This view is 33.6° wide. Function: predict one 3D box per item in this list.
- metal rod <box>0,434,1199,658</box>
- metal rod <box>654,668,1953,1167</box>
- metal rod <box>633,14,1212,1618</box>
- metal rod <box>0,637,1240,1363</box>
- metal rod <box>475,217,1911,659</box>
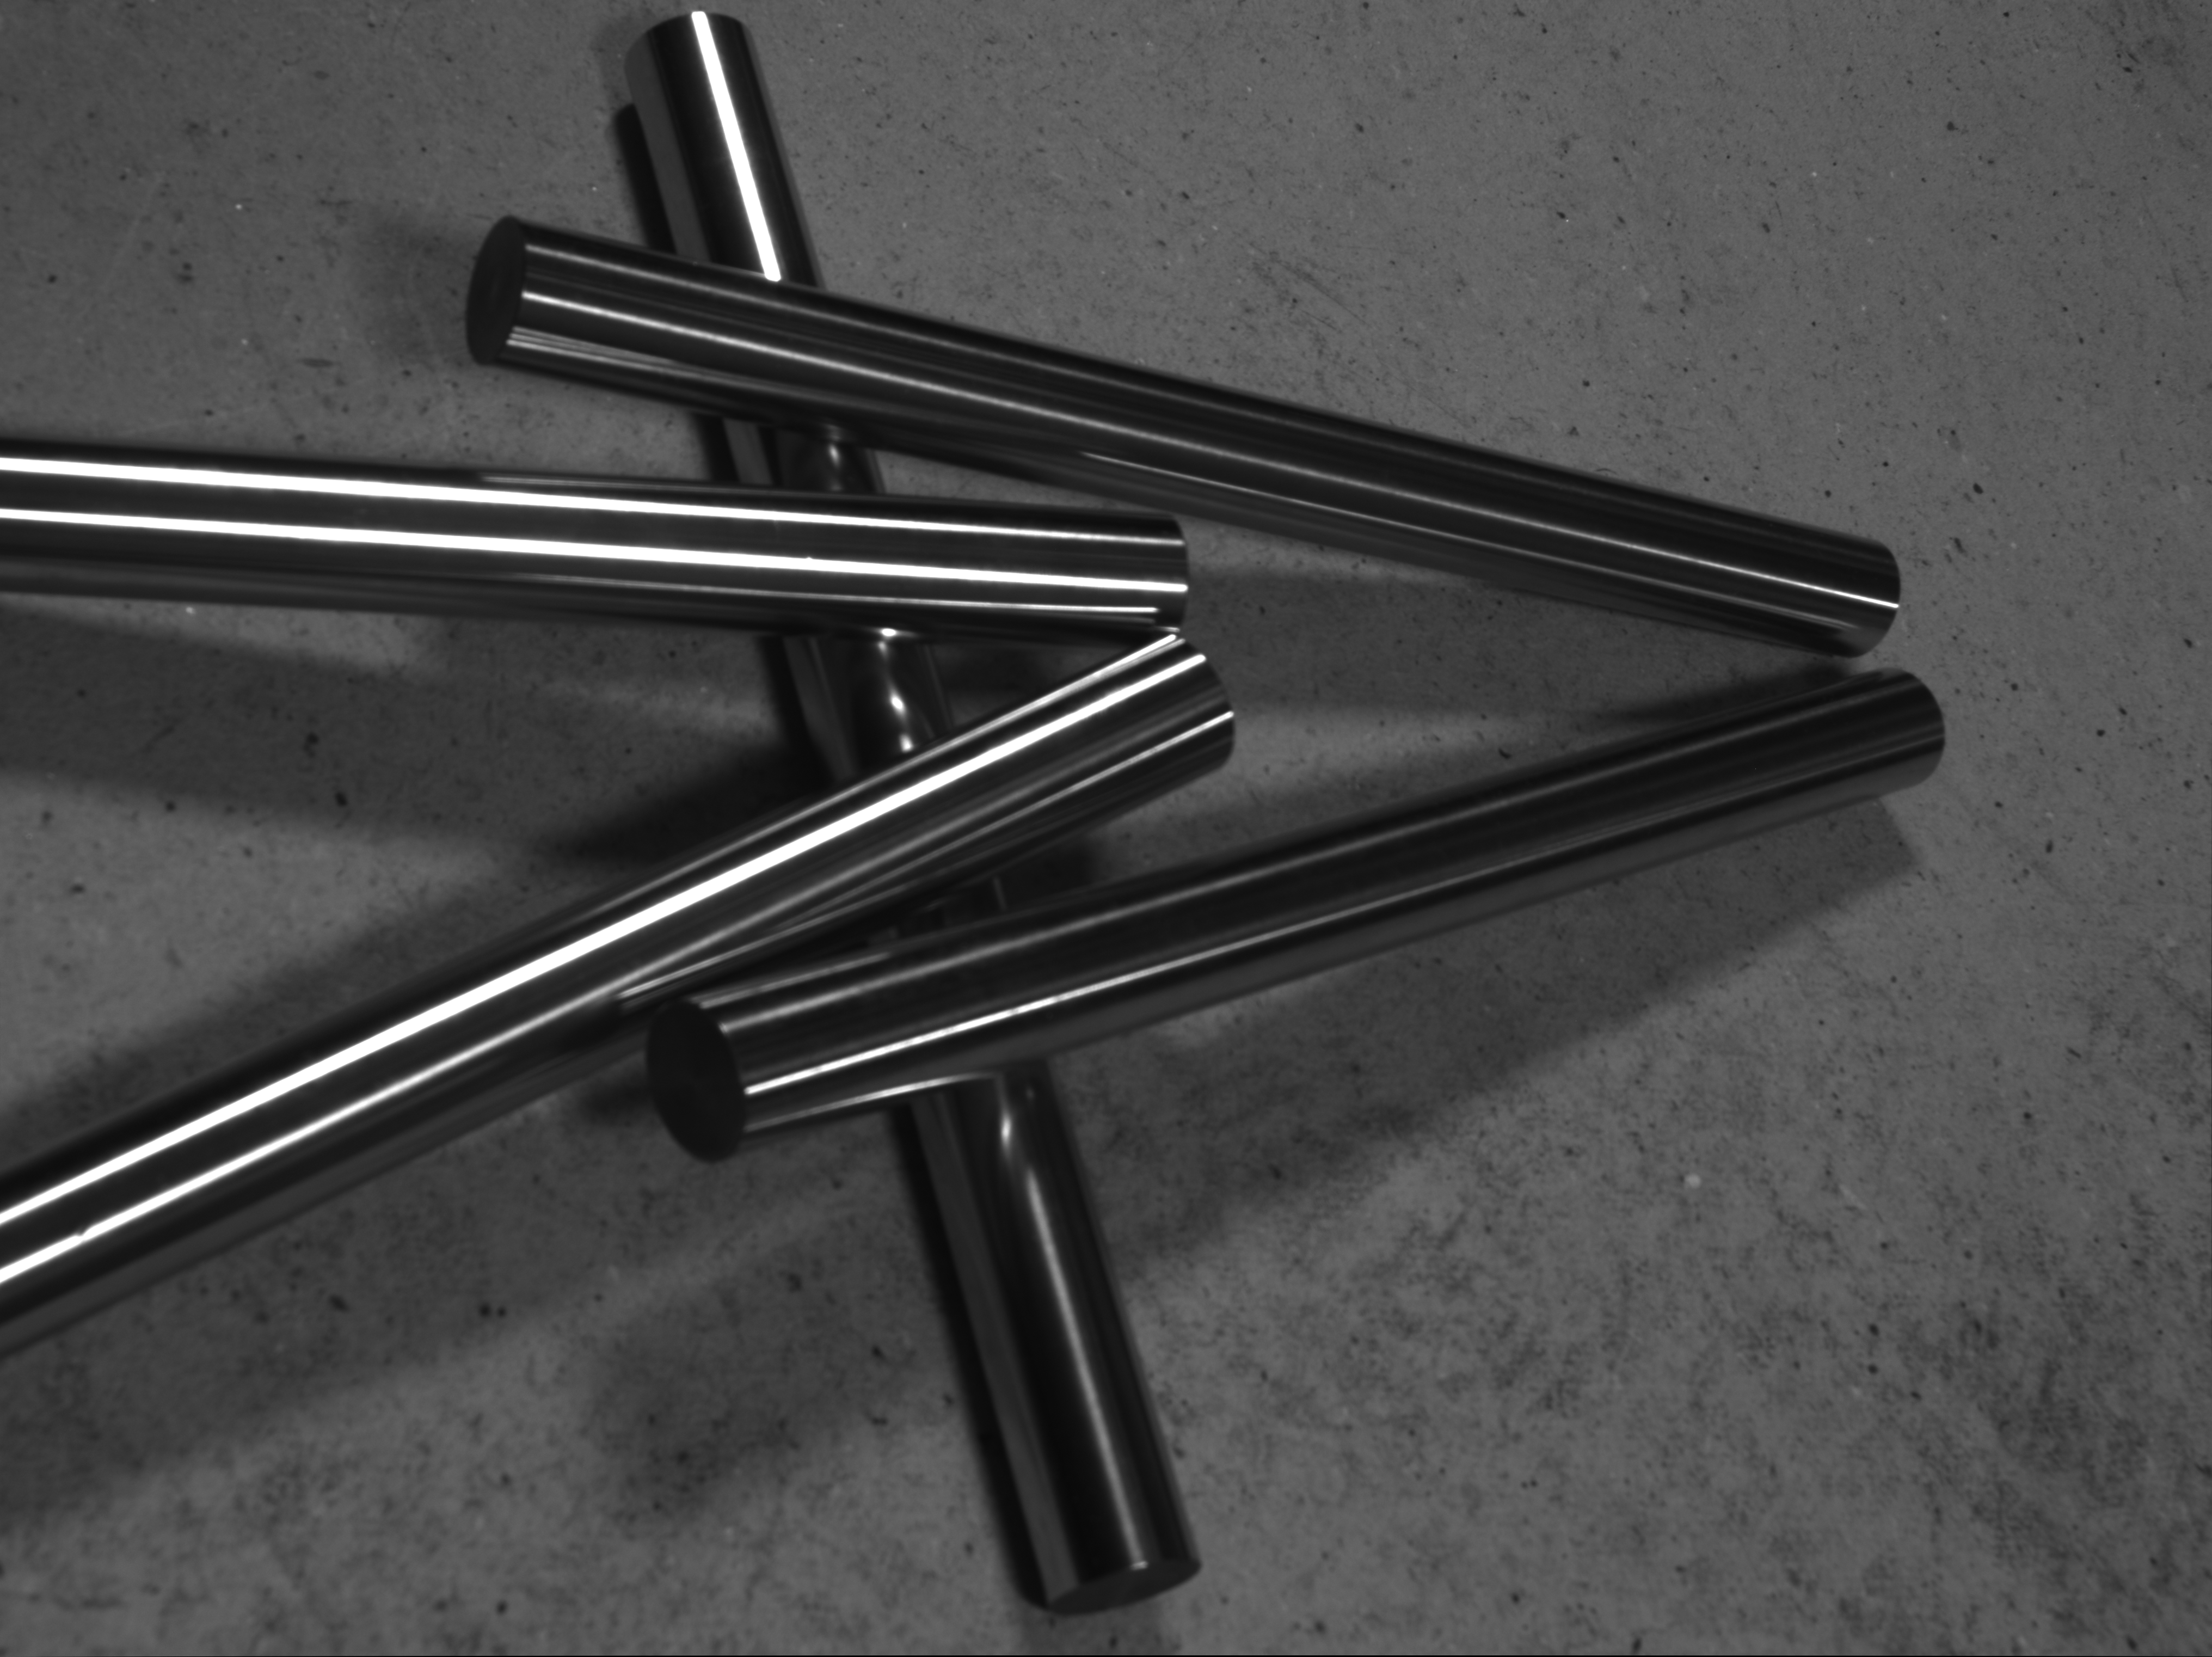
[{"bbox_3d":[-0.129,-0.047,0.581,0.301,0.025,0.025,2,60,-21],"label":"metal rod"},{"bbox_3d":[0.050,0.009,0.641,0.301,0.025,0.025,-15,69,-41],"label":"metal rod"},{"bbox_3d":[-0.036,-0.013,0.629,0.025,0.025,0.300,-3,63,-30],"label":"metal rod"},{"bbox_3d":[-0.101,0.035,0.546,0.301,0.025,0.025,-26,76,-31],"label":"metal rod"},{"bbox_3d":[0.029,-0.067,0.676,0.301,0.025,0.025,9,57,-31],"label":"metal rod"}]
